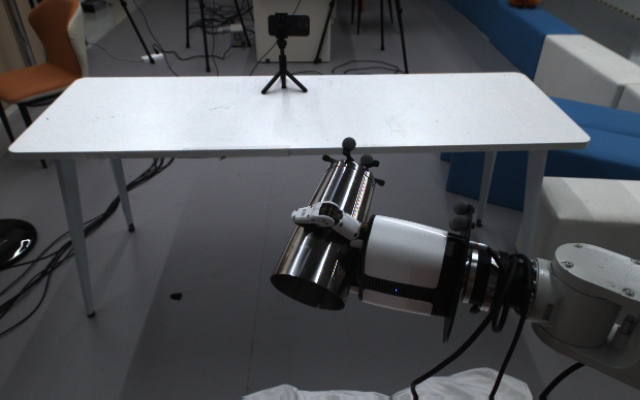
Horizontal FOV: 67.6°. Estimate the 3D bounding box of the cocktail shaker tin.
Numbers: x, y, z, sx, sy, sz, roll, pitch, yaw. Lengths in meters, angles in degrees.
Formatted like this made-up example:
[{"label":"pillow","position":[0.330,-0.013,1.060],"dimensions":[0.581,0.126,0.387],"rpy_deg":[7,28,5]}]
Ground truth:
[{"label":"cocktail shaker tin","position":[0.012,0.038,0.592],"dimensions":[0.093,0.093,0.170],"rpy_deg":[14,61,17]}]
